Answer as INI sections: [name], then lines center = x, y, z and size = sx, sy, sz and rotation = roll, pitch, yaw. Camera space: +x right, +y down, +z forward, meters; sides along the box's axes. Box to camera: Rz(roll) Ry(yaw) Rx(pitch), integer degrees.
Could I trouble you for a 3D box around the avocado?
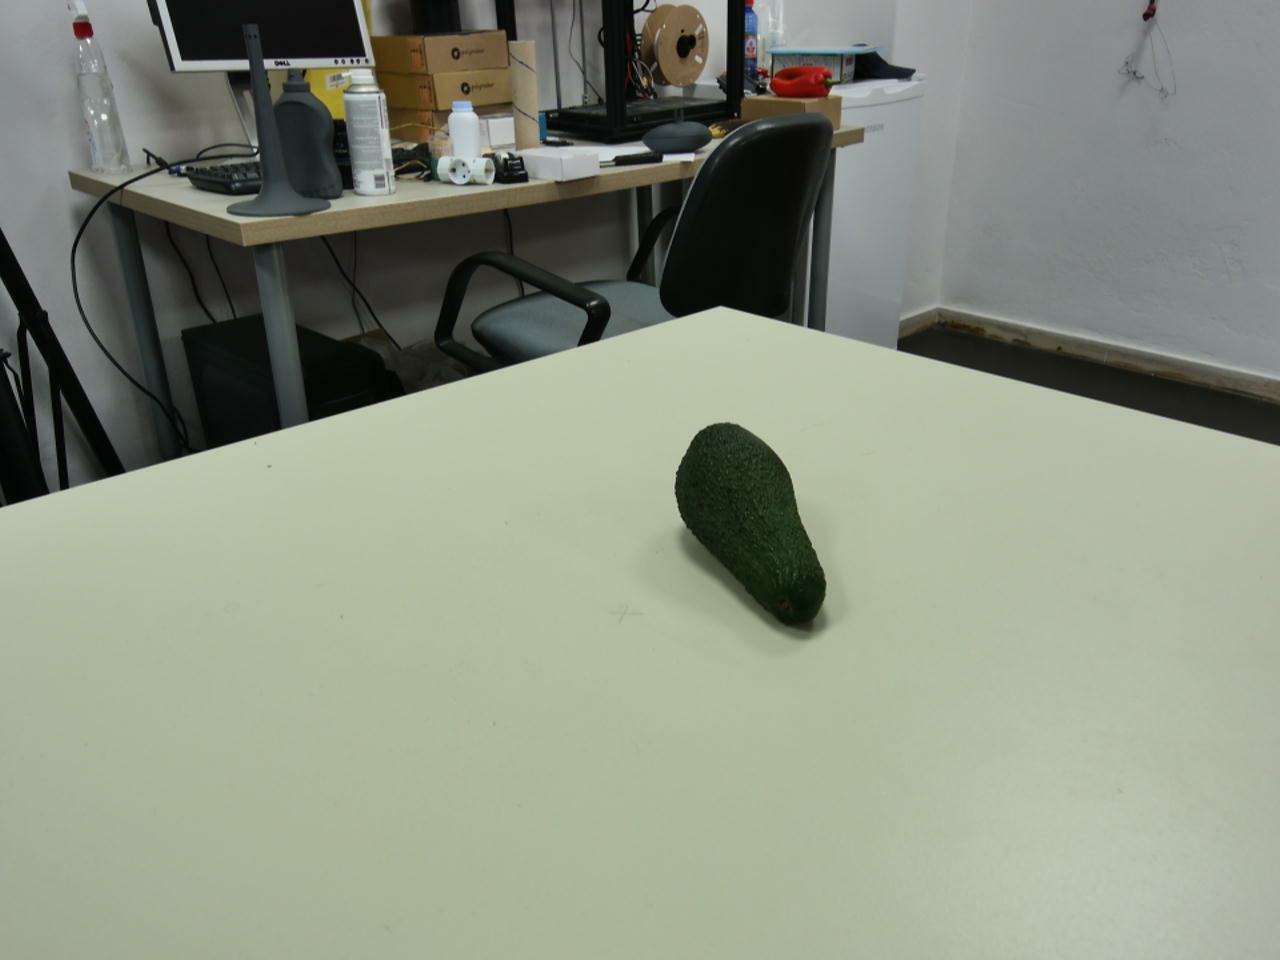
[avocado]
center = 0.064, 0.015, 0.524
size = 0.063, 0.067, 0.141
rotation = -12, 25, -24
